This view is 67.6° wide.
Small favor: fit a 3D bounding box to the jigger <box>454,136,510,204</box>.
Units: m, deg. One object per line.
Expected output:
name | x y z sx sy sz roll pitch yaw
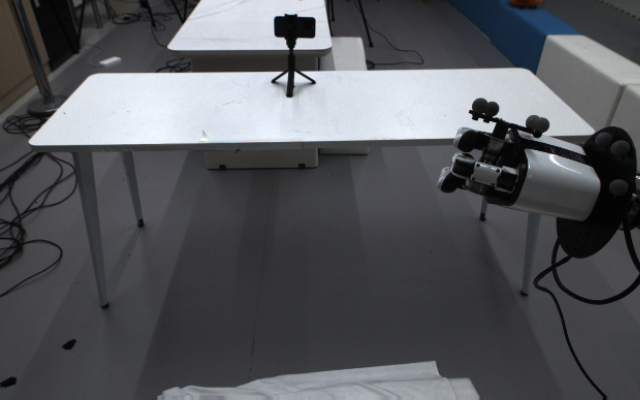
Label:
jigger | 0.201 -0.043 0.581 0.043 0.071 0.043 15 16 -5
